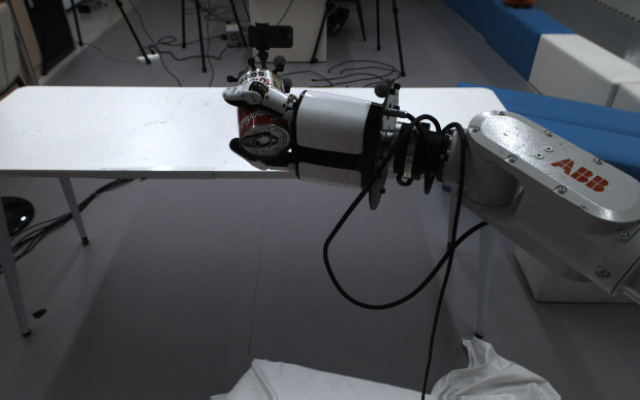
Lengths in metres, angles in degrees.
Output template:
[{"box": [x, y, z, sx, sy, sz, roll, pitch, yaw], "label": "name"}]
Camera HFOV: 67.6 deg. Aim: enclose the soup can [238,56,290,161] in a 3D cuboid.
[{"box": [-0.074, -0.112, 0.631, 0.067, 0.067, 0.101, -5, 57, -10], "label": "soup can"}]
